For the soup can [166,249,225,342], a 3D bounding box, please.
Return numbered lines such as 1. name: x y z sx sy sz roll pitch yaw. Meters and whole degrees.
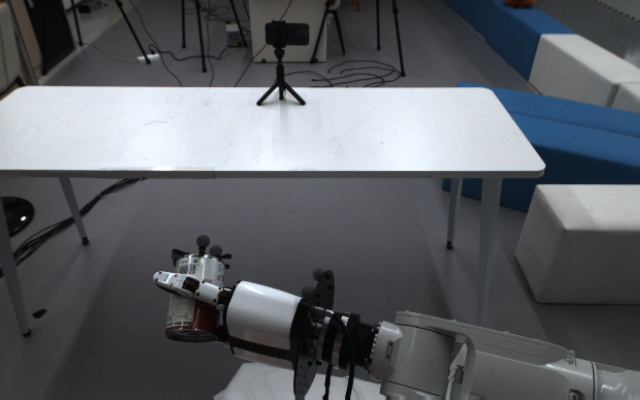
1. soup can: -0.161 0.131 0.638 0.067 0.067 0.101 0 60 -3
